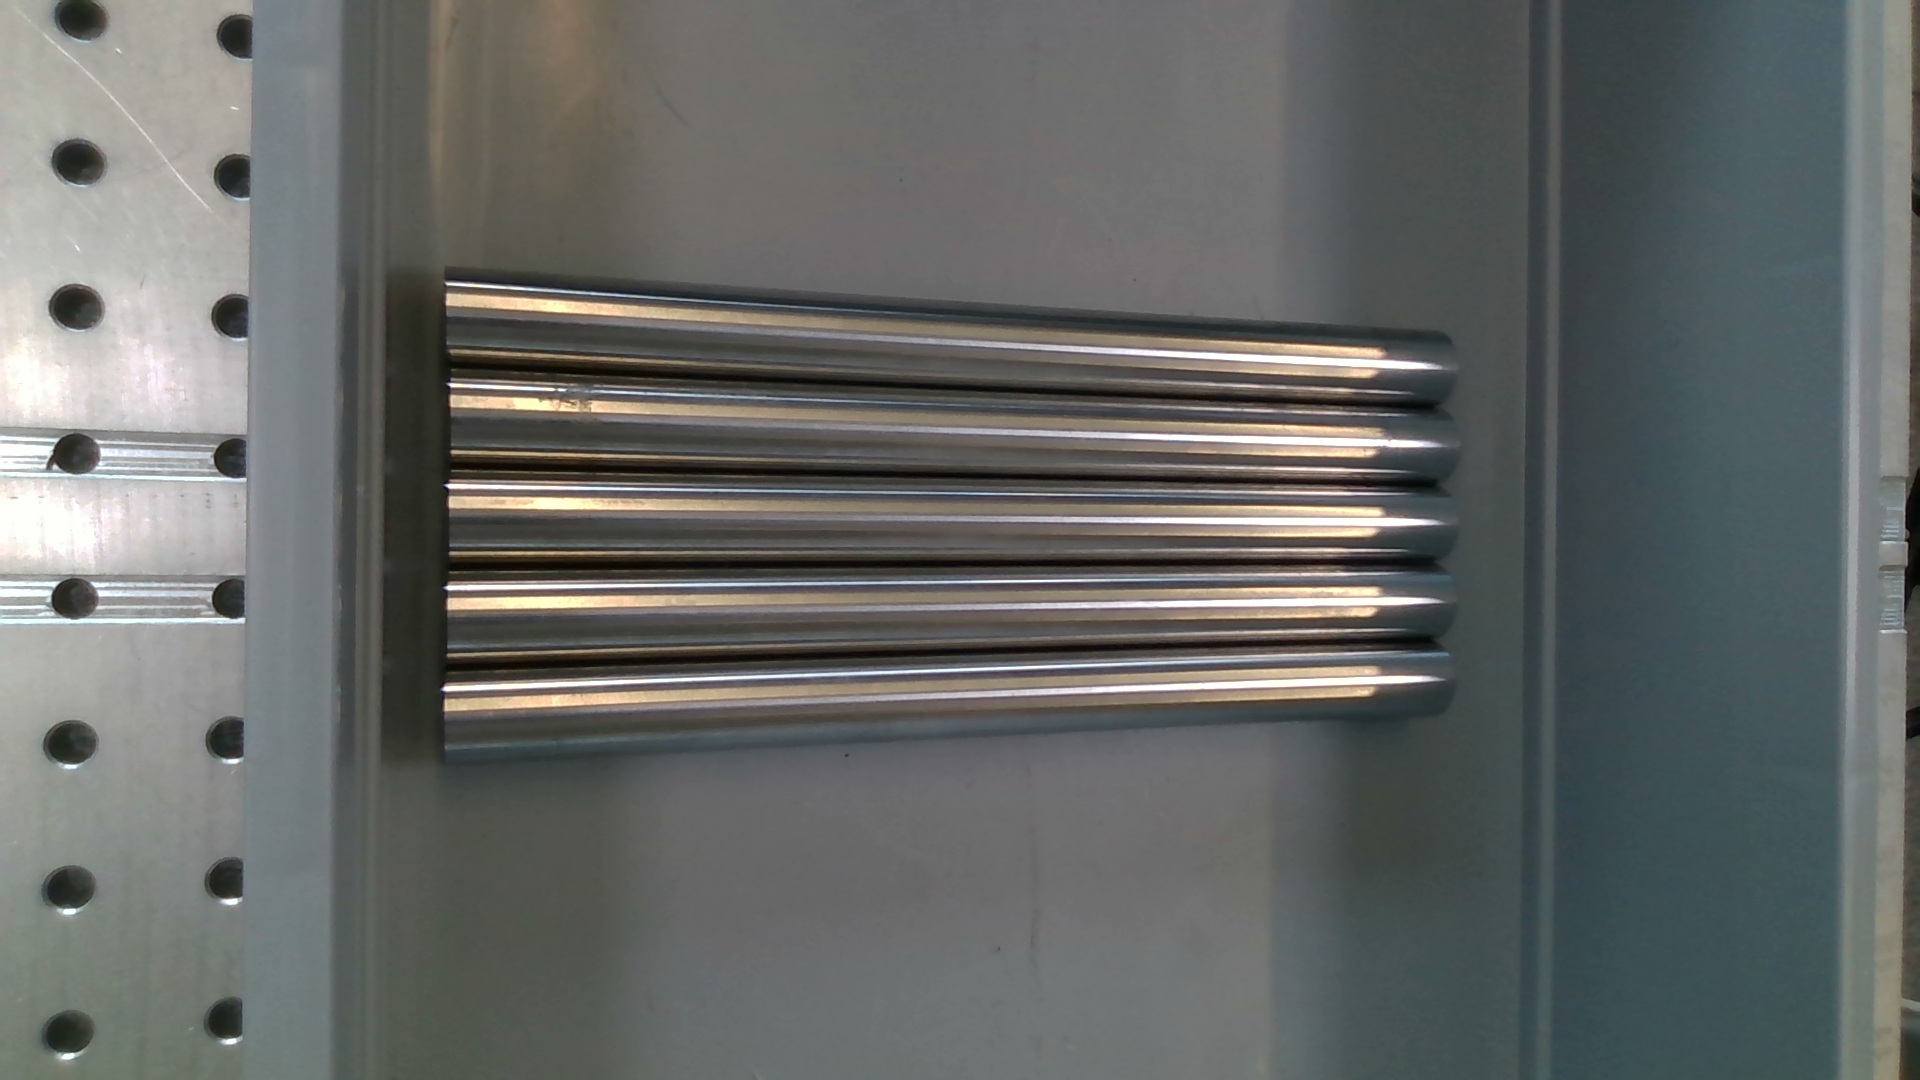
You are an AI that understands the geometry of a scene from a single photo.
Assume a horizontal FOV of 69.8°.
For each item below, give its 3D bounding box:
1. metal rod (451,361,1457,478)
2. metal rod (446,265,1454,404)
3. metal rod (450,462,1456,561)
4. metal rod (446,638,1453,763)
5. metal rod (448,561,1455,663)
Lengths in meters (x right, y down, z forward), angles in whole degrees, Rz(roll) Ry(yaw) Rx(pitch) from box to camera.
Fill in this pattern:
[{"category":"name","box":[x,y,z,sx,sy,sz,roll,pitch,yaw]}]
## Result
[{"category":"metal rod","box":[0.013,-0.032,0.398,0.300,0.025,0.025,0,90,-20]},{"category":"metal rod","box":[0.012,-0.056,0.397,0.300,0.025,0.025,0,90,-20]},{"category":"metal rod","box":[0.013,-0.007,0.398,0.300,0.025,0.025,0,90,-20]},{"category":"metal rod","box":[0.012,0.044,0.398,0.300,0.025,0.025,0,90,-20]},{"category":"metal rod","box":[0.012,0.019,0.398,0.300,0.025,0.025,0,90,-20]}]
